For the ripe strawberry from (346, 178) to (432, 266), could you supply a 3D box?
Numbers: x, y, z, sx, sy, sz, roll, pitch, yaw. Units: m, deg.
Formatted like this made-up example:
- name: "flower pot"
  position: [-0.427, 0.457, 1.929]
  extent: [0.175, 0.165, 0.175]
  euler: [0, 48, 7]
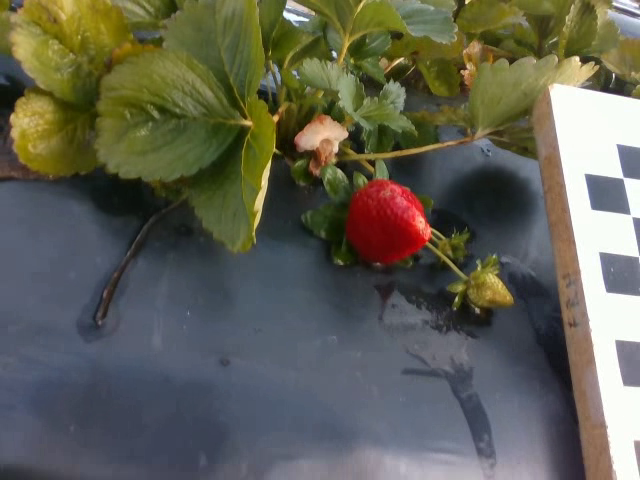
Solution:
- name: "ripe strawberry"
  position: [0.041, -0.008, 0.303]
  extent: [0.043, 0.052, 0.057]
  euler: [-20, 9, -15]
